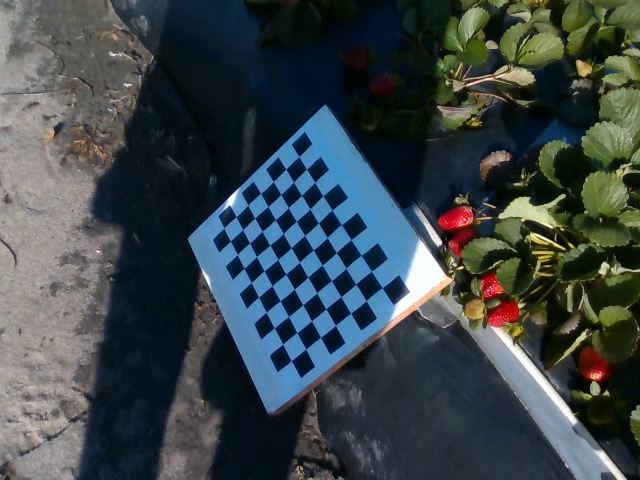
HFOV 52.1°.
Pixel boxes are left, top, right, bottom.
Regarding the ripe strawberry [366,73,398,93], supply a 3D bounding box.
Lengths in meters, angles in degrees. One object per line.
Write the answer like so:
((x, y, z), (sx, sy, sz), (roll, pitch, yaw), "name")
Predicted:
((0.081, -0.210, 0.889), (0.042, 0.039, 0.049), (6, 19, 38), "ripe strawberry")

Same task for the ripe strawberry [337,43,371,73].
((0.043, -0.263, 0.923), (0.050, 0.051, 0.044), (2, -26, -35), "ripe strawberry")
